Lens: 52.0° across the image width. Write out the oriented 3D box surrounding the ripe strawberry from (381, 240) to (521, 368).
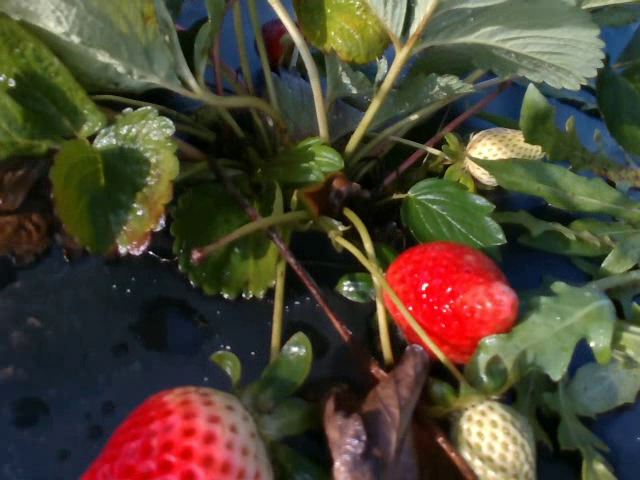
[{"bbox_3d":[0.039,0.012,0.168,0.039,0.032,0.048,-7,-6,-20],"label":"ripe strawberry"}]
